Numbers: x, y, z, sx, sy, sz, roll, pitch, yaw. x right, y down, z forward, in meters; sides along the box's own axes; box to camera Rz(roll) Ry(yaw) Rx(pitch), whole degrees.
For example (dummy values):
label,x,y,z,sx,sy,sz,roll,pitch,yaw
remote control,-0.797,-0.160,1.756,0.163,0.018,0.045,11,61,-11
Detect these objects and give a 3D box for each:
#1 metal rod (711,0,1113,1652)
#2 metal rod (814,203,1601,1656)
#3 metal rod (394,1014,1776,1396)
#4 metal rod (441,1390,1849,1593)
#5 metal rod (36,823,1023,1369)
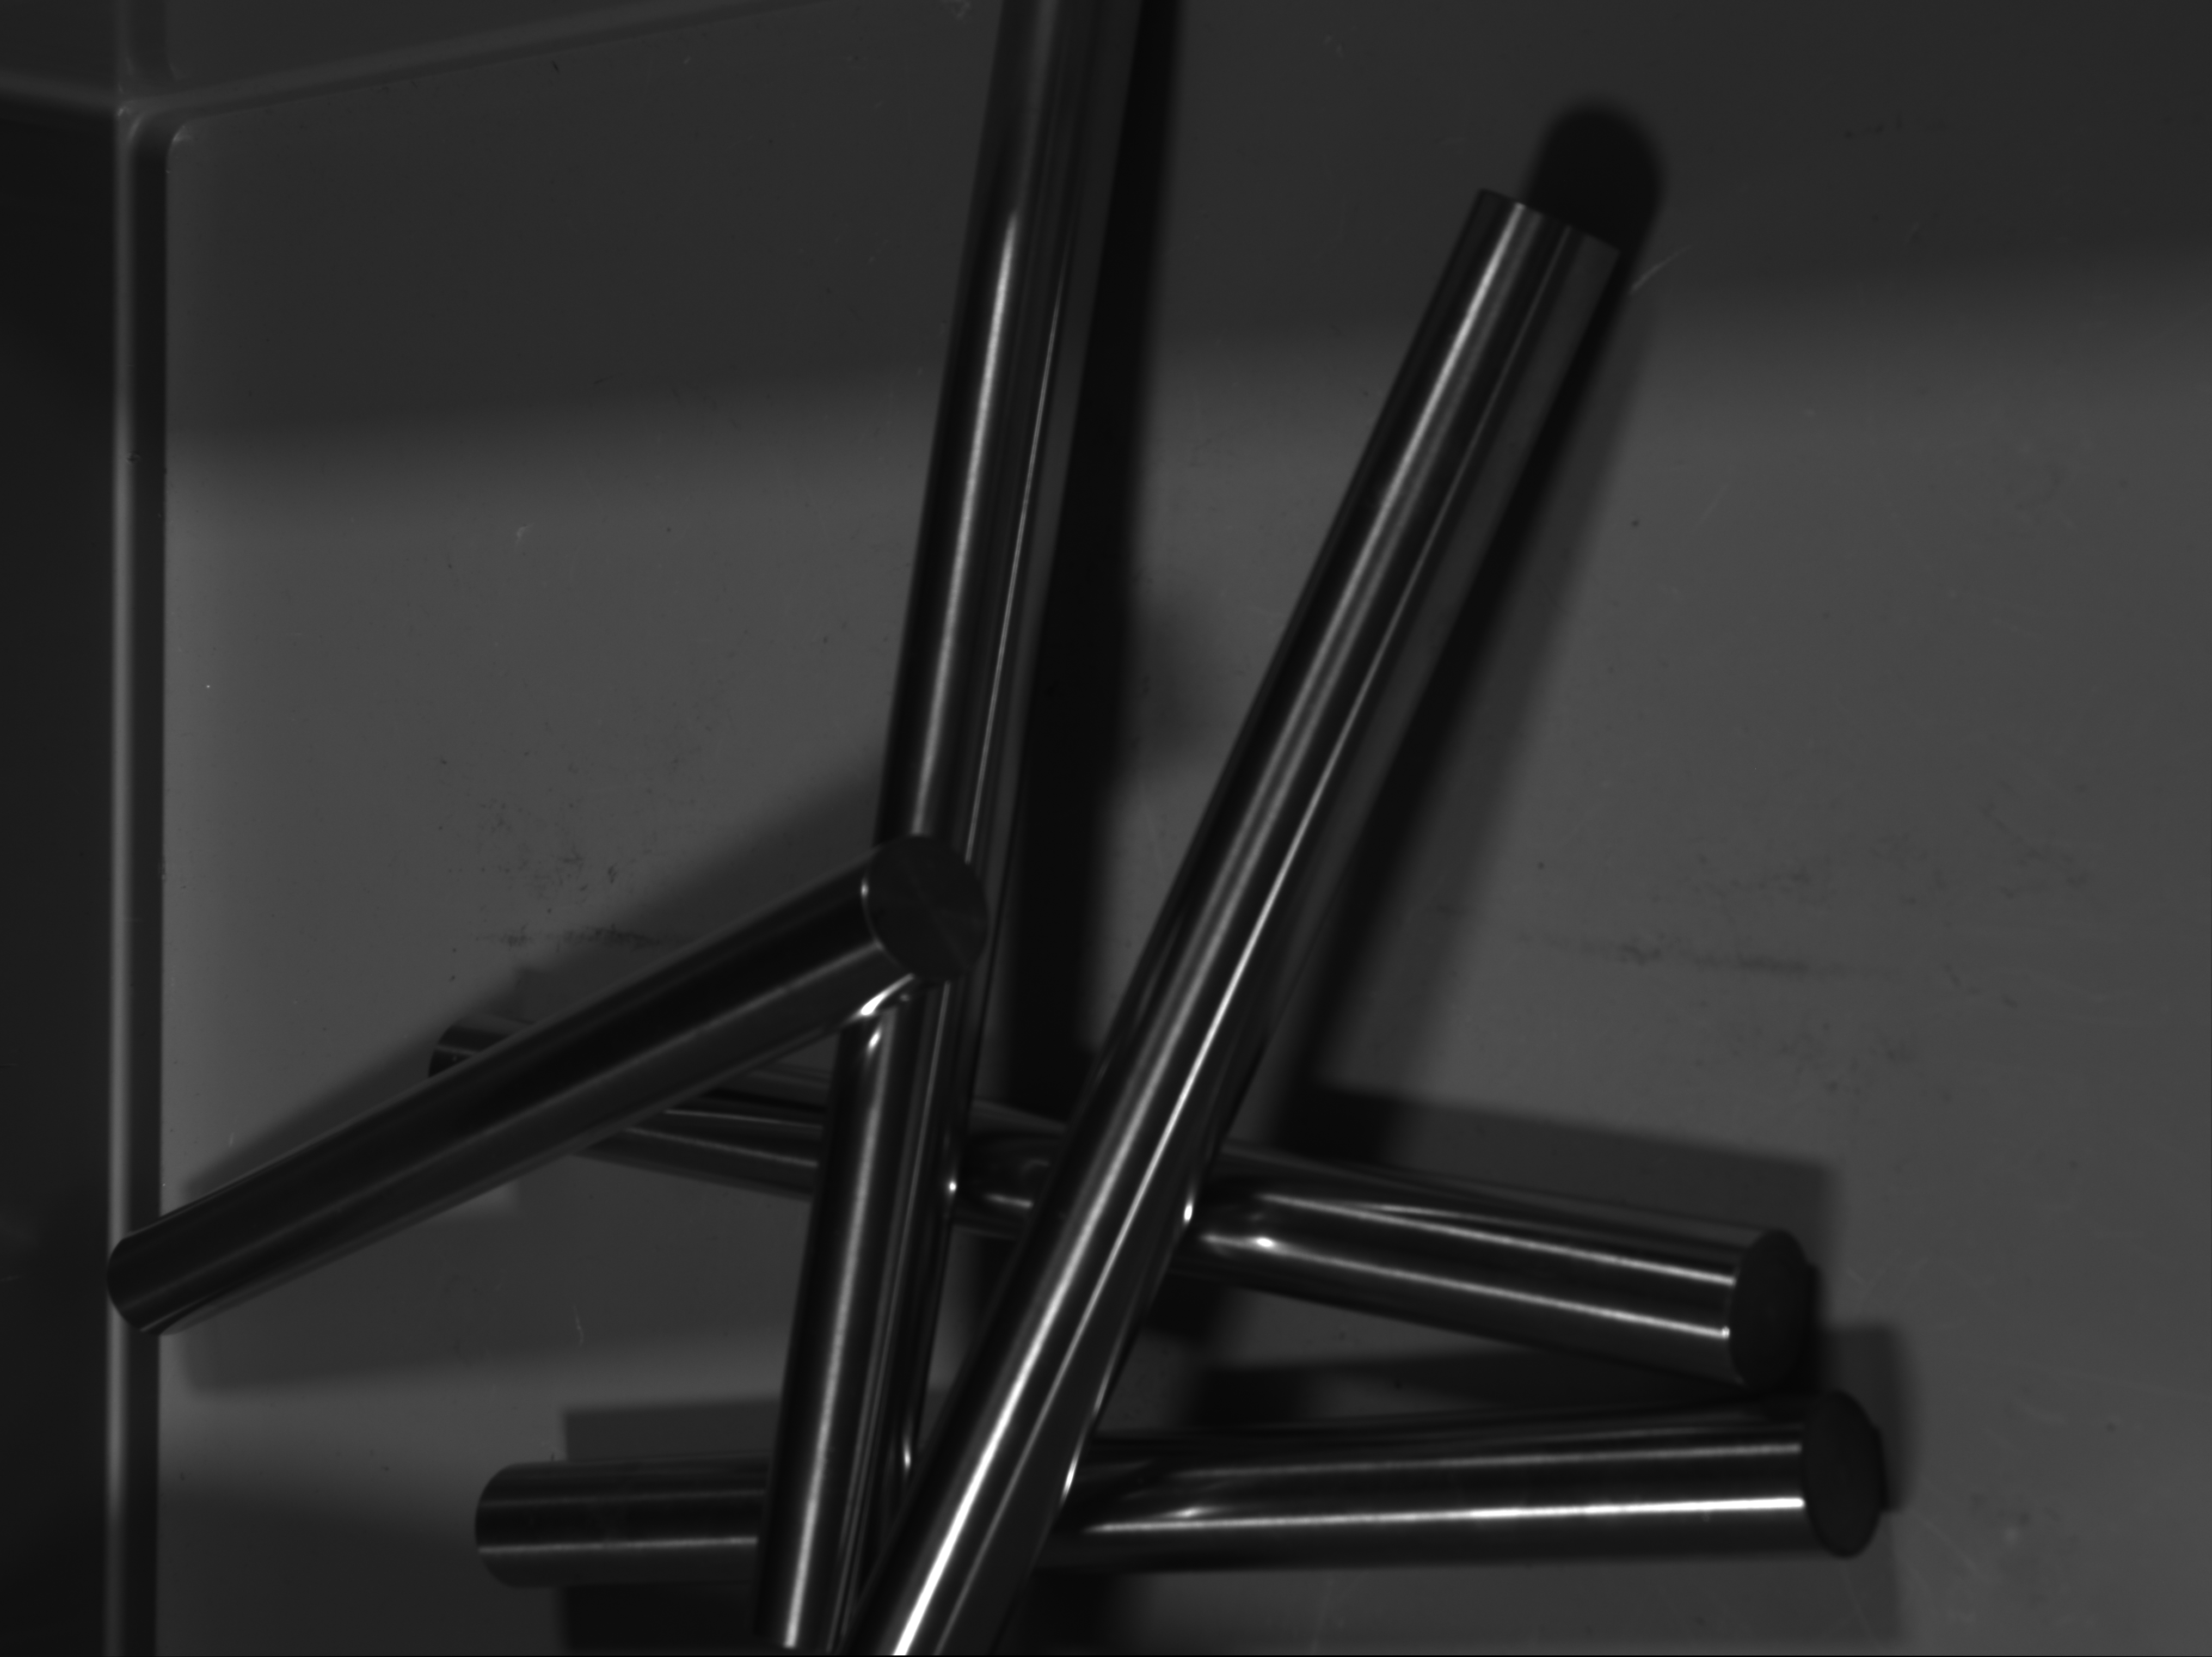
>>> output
label,x,y,z,sx,sy,sz,roll,pitch,yaw
metal rod,-0.033,-0.008,0.640,0.025,0.025,0.300,8,89,39
metal rod,0.007,0.042,0.603,0.025,0.025,0.300,30,100,35
metal rod,-0.020,0.062,0.651,0.299,0.025,0.025,6,94,39
metal rod,-0.009,0.119,0.642,0.299,0.025,0.025,-11,83,39
metal rod,-0.123,0.059,0.703,0.299,0.025,0.025,-25,74,42
